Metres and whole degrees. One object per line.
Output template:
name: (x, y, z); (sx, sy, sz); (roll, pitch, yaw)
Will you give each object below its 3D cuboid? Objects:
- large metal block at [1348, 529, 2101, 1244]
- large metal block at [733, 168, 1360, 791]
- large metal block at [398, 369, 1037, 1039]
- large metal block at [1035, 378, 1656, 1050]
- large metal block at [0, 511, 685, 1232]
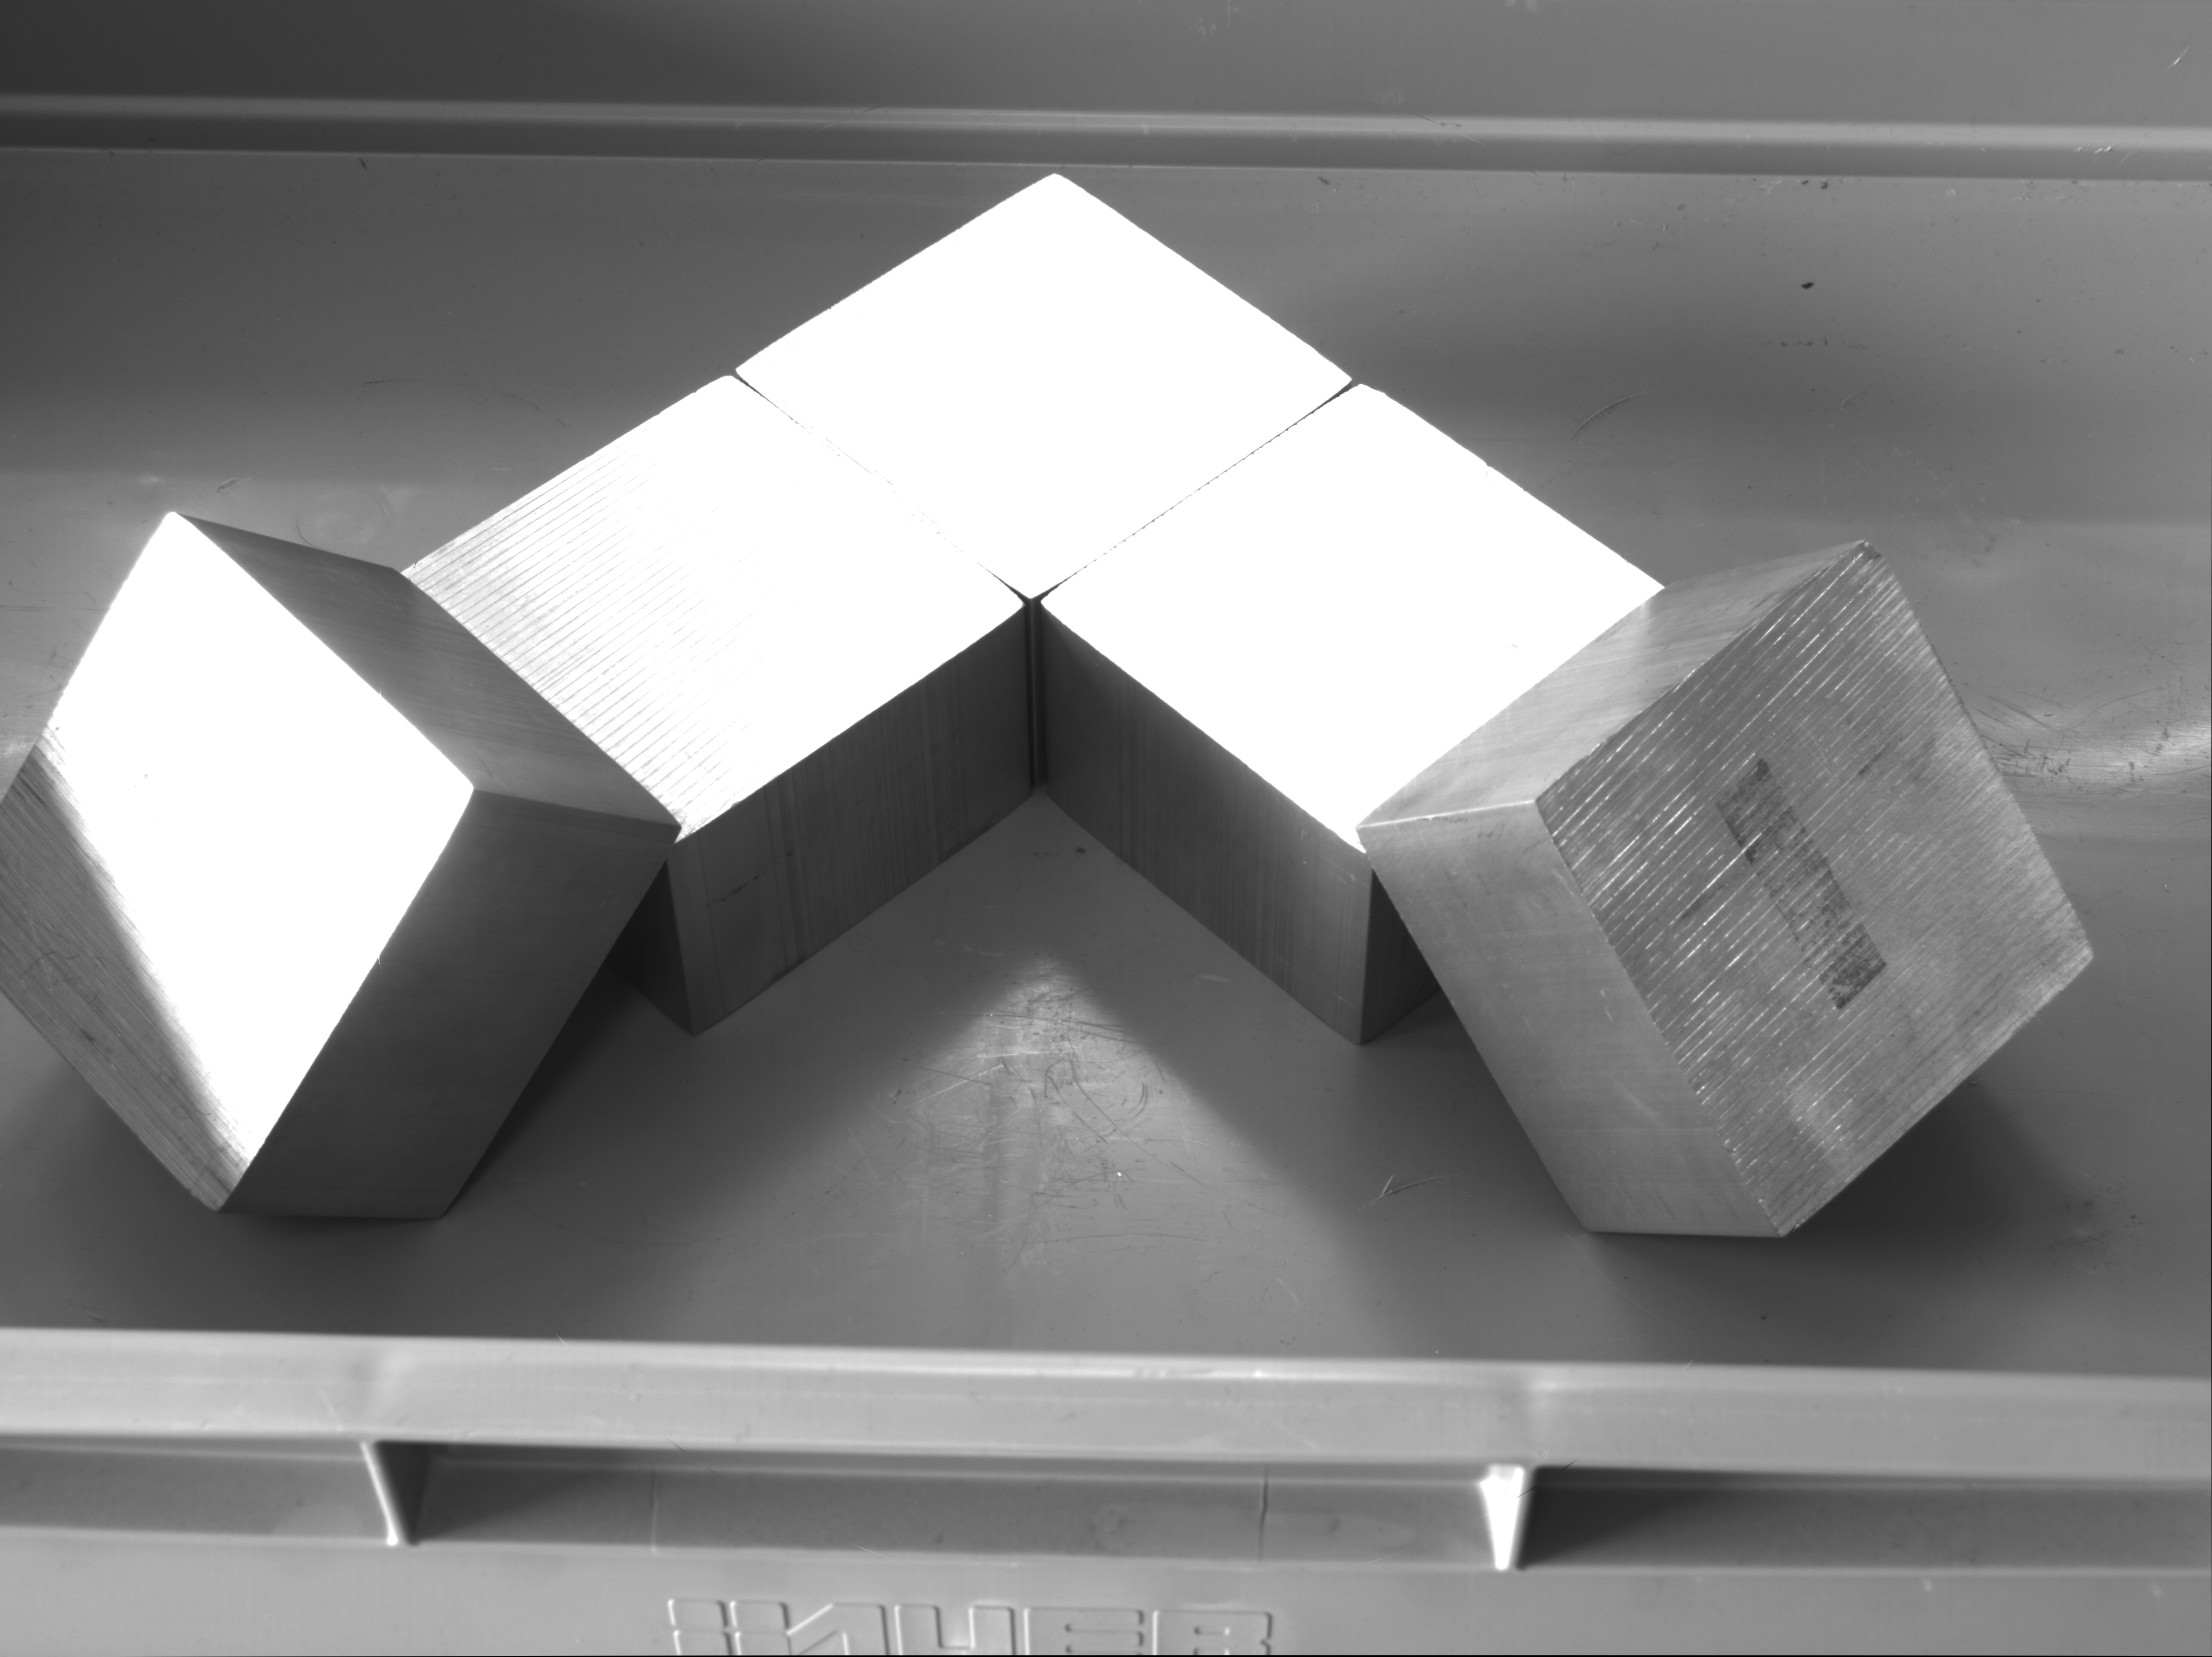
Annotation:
large metal block: (0.099, 0.010, 0.587); (0.080, 0.050, 0.080); (-36, 102, -26)
large metal block: (-0.011, -0.066, 0.679); (0.080, 0.050, 0.080); (-36, 59, -26)
large metal block: (-0.069, -0.023, 0.643); (0.080, 0.050, 0.080); (-36, 59, -26)
large metal block: (0.045, -0.022, 0.642); (0.080, 0.050, 0.080); (-36, 59, -26)
large metal block: (-0.128, 0.008, 0.589); (0.080, 0.050, 0.080); (39, 102, 28)
